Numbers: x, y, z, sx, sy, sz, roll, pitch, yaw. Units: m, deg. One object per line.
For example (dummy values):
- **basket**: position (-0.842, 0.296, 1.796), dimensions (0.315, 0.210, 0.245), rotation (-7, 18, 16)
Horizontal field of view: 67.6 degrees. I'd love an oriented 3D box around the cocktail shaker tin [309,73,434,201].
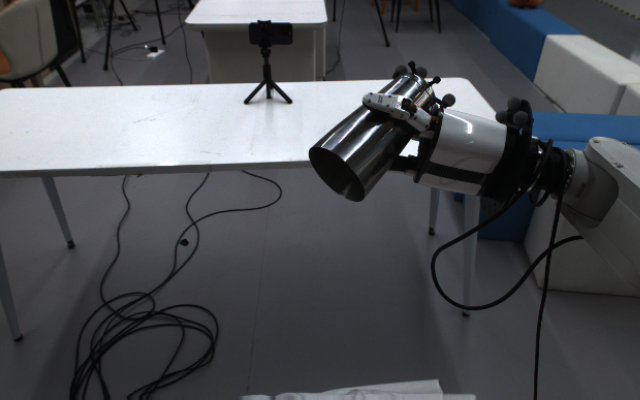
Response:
- **cocktail shaker tin**: position (0.075, -0.092, 0.631), dimensions (0.093, 0.093, 0.170), rotation (32, 67, 36)
